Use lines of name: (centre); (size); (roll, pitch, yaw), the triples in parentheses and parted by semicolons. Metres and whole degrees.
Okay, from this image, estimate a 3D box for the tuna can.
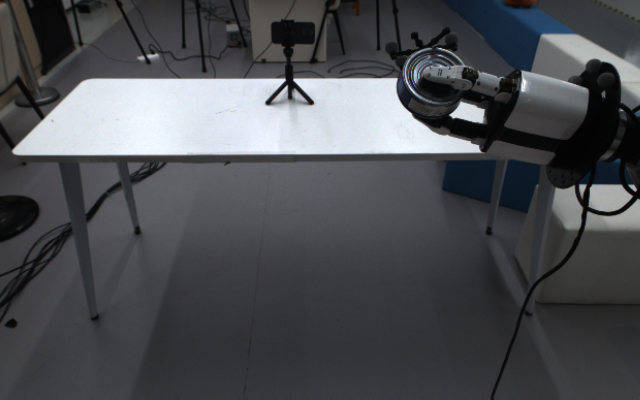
tuna can: (0.143, -0.150, 0.611); (0.085, 0.034, 0.085); (0, 72, -1)
